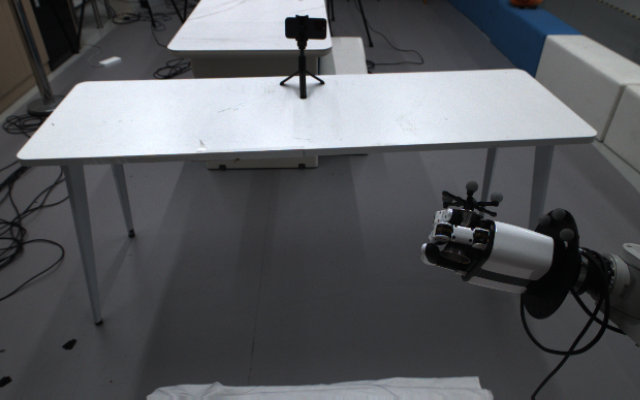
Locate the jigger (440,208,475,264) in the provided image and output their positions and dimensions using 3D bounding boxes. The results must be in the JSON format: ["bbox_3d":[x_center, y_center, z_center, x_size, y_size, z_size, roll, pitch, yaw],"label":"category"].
[{"bbox_3d":[0.204,0.049,0.694,0.043,0.043,0.071,15,70,18],"label":"jigger"}]
